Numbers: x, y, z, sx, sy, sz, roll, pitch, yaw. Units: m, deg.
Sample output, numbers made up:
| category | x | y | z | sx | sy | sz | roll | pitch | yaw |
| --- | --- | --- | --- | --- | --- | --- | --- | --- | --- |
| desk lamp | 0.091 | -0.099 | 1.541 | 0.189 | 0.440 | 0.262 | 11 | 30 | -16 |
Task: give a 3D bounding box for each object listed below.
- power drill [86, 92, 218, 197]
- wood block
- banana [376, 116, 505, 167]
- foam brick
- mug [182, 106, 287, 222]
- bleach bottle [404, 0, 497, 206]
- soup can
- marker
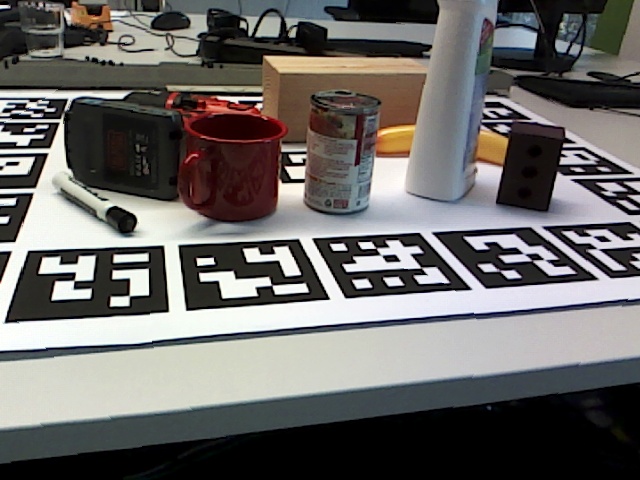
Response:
| category | x | y | z | sx | sy | sz | roll | pitch | yaw |
| --- | --- | --- | --- | --- | --- | --- | --- | --- | --- |
| power drill | -0.173 | -0.115 | 0.682 | 0.185 | 0.057 | 0.187 | 13 | 27 | 8 |
| wood block | 0.031 | -0.183 | 0.807 | 0.205 | 0.091 | 0.090 | -4 | 30 | -17 |
| banana | 0.131 | -0.126 | 0.764 | 0.197 | 0.039 | 0.074 | 6 | 41 | -3 |
| foam brick | 0.216 | -0.072 | 0.643 | 0.053 | 0.078 | 0.051 | 11 | 26 | 15 |
| mug | -0.085 | -0.065 | 0.563 | 0.094 | 0.081 | 0.117 | 20 | 34 | 21 |
| bleach bottle | 0.136 | -0.167 | 0.620 | 0.068 | 0.250 | 0.102 | 10 | 27 | 10 |
| soup can | 0.019 | -0.086 | 0.591 | 0.068 | 0.102 | 0.068 | 5 | 23 | -3 |
| marker | -0.198 | -0.028 | 0.545 | 0.122 | 0.019 | 0.019 | 29 | 38 | 36 |
